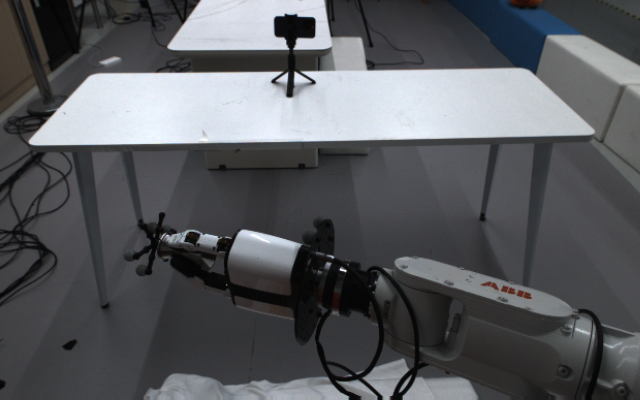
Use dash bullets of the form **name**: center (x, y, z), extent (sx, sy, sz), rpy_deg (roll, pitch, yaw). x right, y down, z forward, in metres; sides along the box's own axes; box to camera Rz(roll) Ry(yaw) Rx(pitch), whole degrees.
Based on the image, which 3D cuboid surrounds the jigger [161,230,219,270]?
- **jigger**: center (-0.175, 0.065, 0.658), extent (0.071, 0.043, 0.043), rpy_deg (10, 35, 16)
